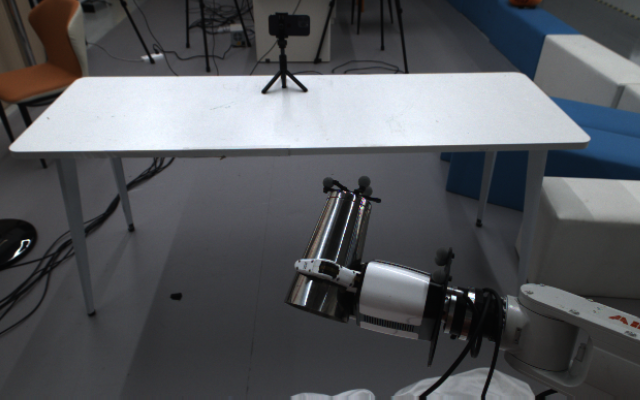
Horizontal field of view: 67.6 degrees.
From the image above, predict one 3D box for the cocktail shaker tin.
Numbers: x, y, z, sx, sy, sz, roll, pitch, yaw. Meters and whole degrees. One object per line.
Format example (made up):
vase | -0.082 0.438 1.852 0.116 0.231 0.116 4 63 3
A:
cocktail shaker tin | 0.018 0.078 0.685 0.093 0.093 0.170 14 73 17
